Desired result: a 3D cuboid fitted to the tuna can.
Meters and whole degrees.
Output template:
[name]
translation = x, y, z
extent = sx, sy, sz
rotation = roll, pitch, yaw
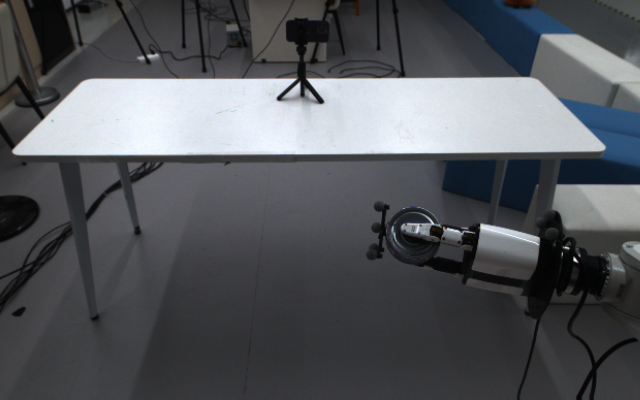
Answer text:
[tuna can]
translation = 0.145, 0.049, 0.745
extent = 0.085, 0.034, 0.085
rotation = -2, 69, 6
